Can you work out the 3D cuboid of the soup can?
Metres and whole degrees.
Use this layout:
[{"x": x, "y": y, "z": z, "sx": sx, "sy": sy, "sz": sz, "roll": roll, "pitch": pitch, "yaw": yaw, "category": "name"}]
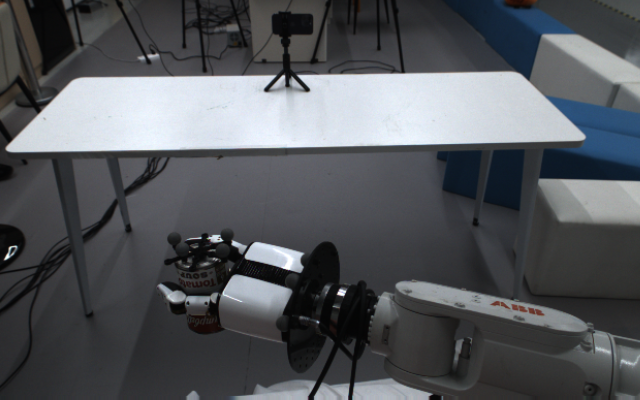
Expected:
[{"x": -0.149, "y": 0.116, "z": 0.636, "sx": 0.067, "sy": 0.101, "sz": 0.067, "roll": -4, "pitch": 25, "yaw": 2, "category": "soup can"}]
